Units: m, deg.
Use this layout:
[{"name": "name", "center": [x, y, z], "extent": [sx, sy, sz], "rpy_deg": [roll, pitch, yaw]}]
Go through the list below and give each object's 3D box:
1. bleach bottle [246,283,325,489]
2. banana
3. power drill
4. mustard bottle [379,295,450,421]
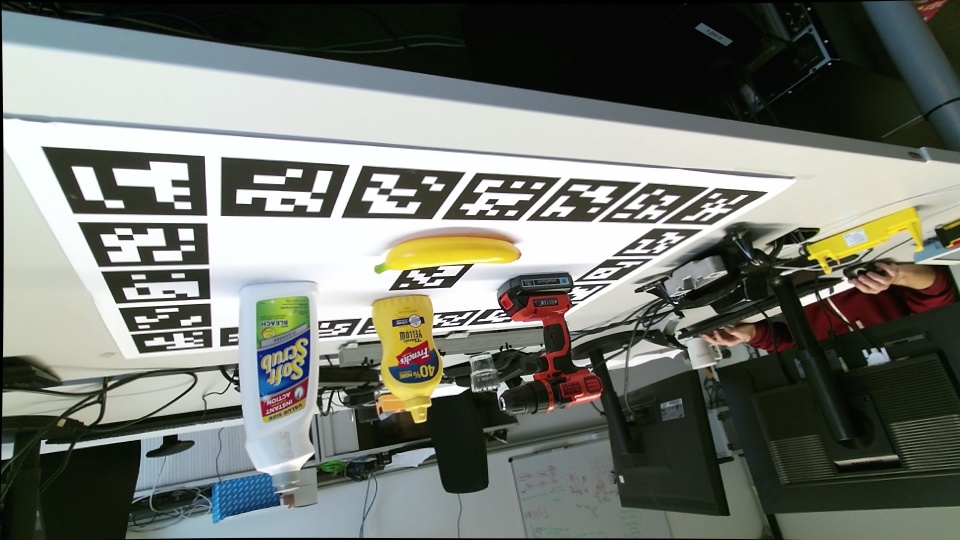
[{"name": "bleach bottle", "center": [-0.239, 0.142, 0.681], "extent": [0.103, 0.249, 0.068], "rpy_deg": [2, 153, -33]}, {"name": "banana", "center": [-0.027, -0.015, 0.679], "extent": [0.198, 0.038, 0.074], "rpy_deg": [-7, 155, -22]}, {"name": "power drill", "center": [0.098, 0.137, 0.861], "extent": [0.185, 0.186, 0.057], "rpy_deg": [-8, 158, -22]}, {"name": "mustard bottle", "center": [-0.097, 0.136, 0.828], "extent": [0.096, 0.190, 0.058], "rpy_deg": [-4, 156, -18]}]
